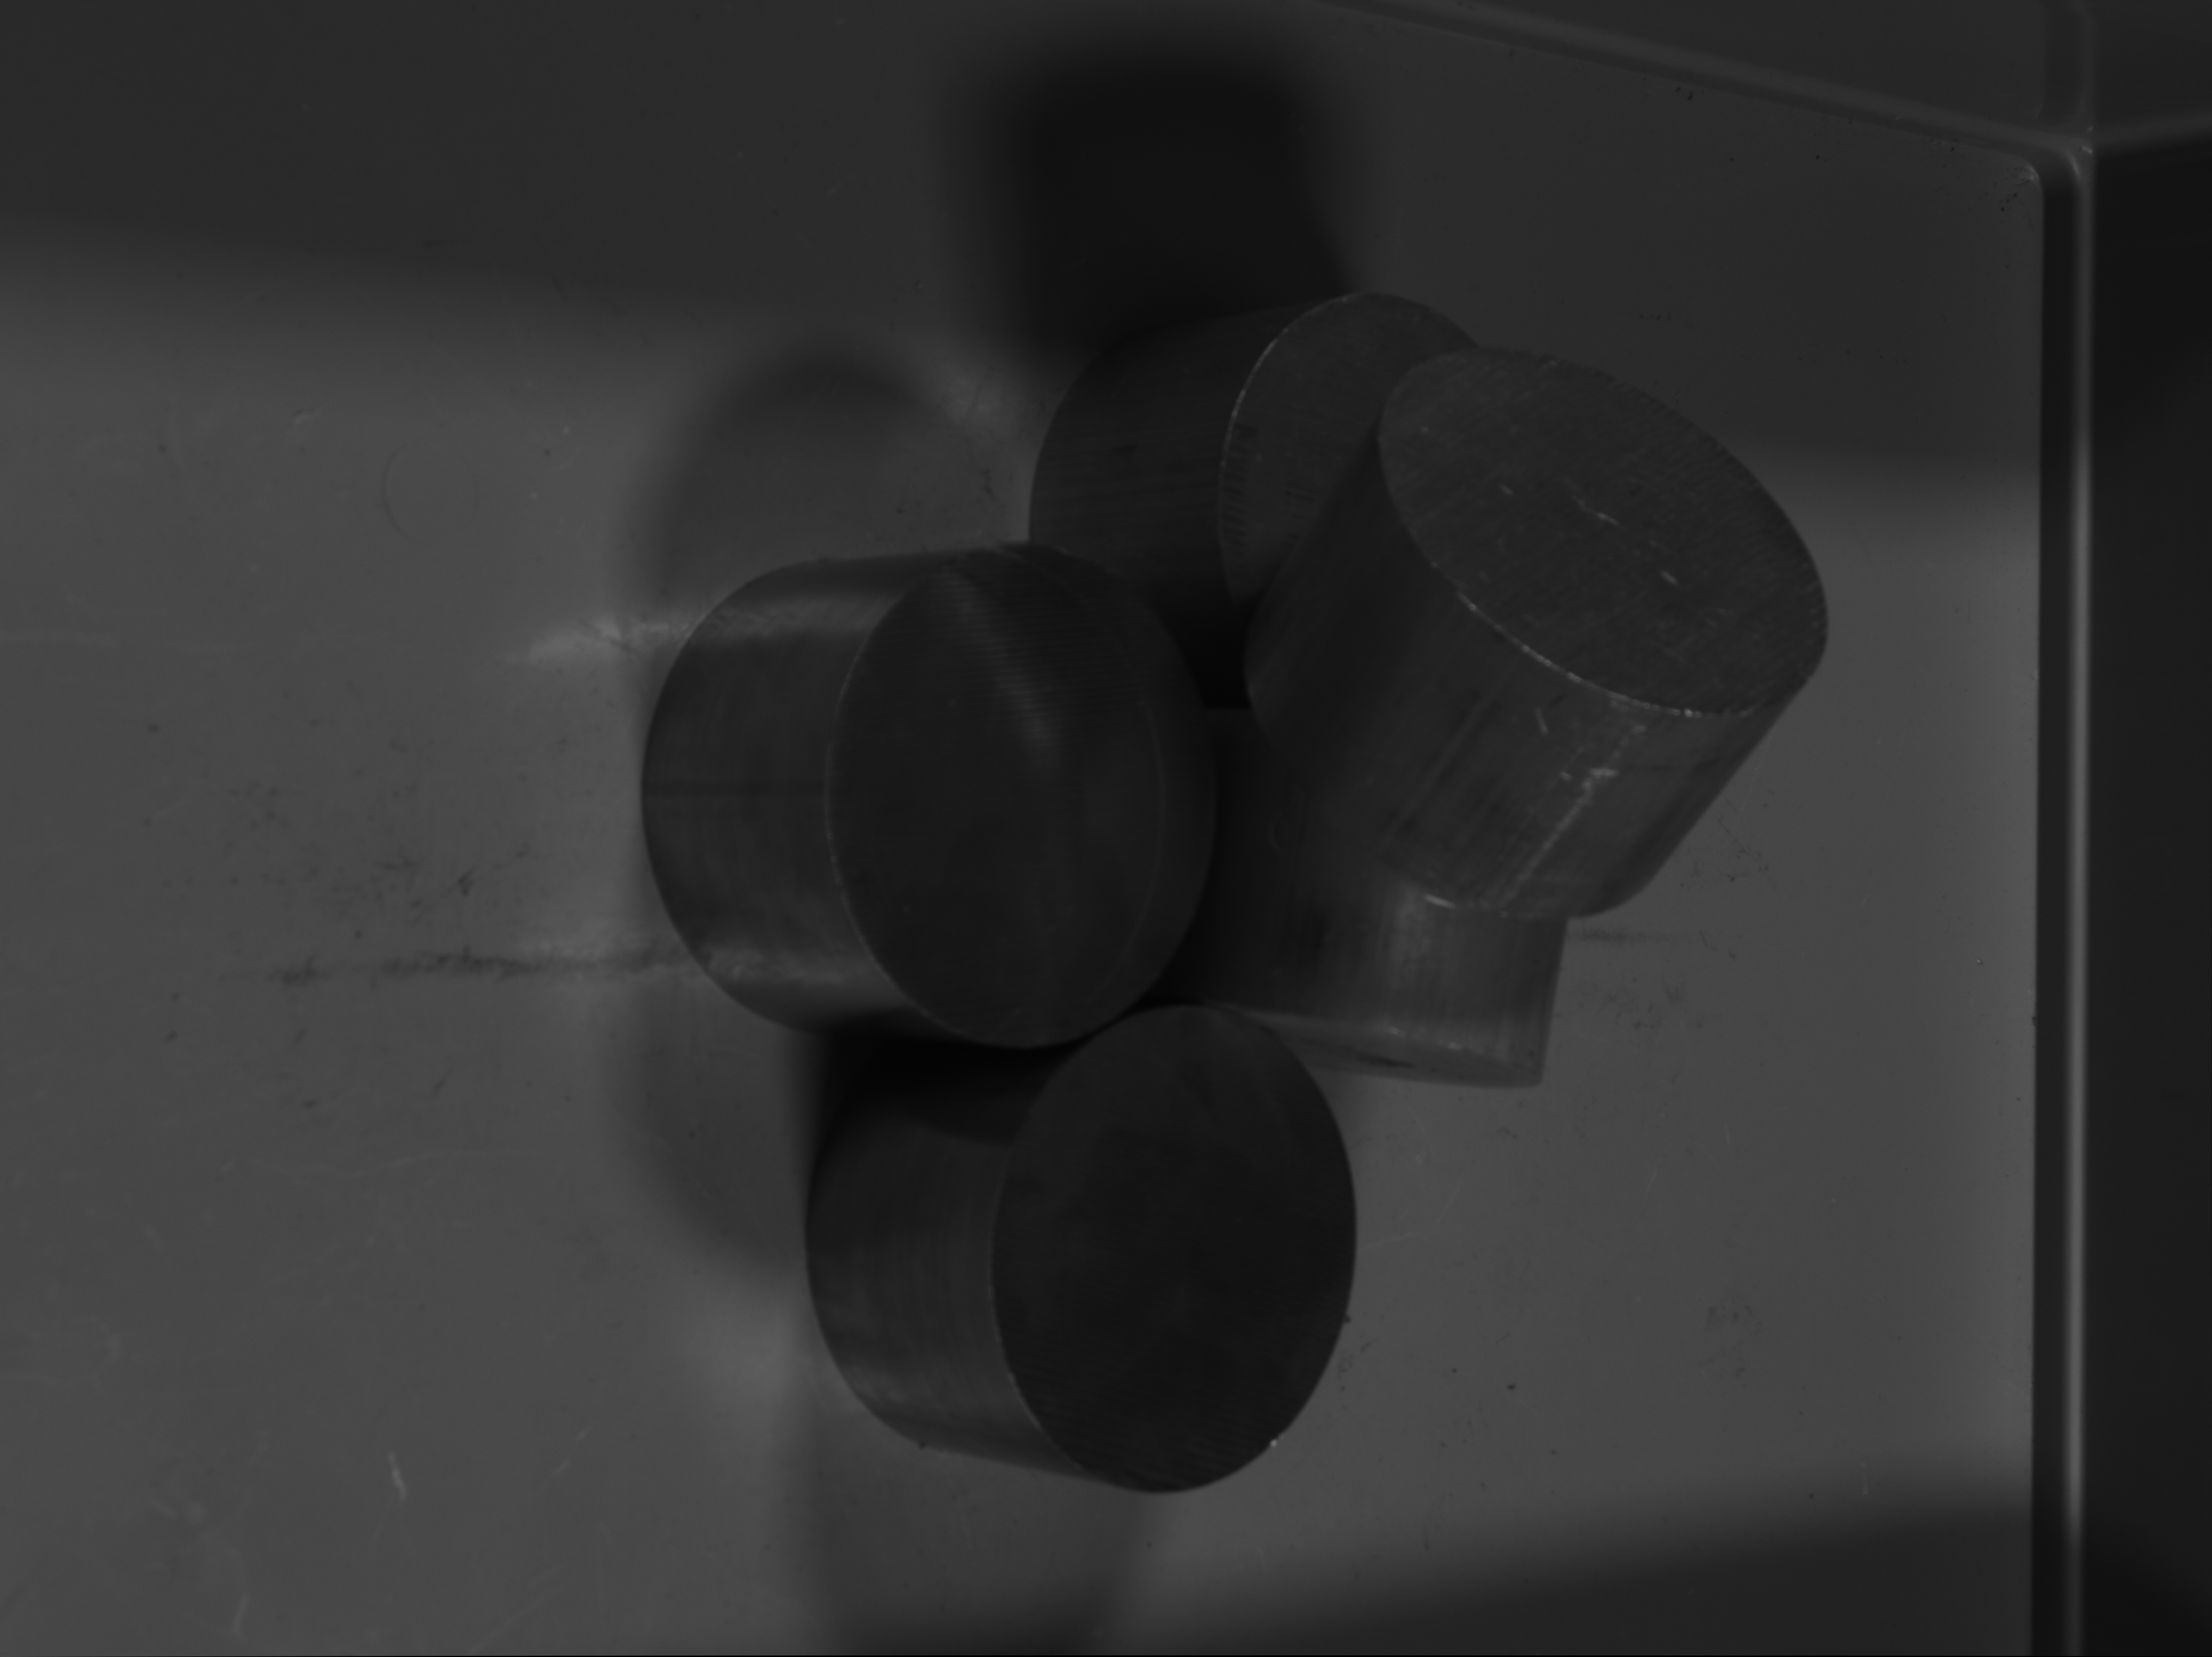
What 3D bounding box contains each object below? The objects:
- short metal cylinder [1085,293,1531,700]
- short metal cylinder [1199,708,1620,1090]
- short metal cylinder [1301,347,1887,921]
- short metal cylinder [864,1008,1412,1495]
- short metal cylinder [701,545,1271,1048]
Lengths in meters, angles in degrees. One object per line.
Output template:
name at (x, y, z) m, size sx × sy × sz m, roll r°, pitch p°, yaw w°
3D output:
short metal cylinder at (0.043, -0.053, 0.655) m, size 0.080 × 0.050 × 0.080 m, roll 0°, pitch 90°, yaw -40°
short metal cylinder at (0.050, 0.013, 0.643) m, size 0.080 × 0.080 × 0.050 m, roll 17°, pitch 79°, yaw -38°
short metal cylinder at (0.079, -0.032, 0.594) m, size 0.080 × 0.050 × 0.080 m, roll 17°, pitch 44°, yaw -16°
short metal cylinder at (0.006, 0.070, 0.624) m, size 0.080 × 0.050 × 0.080 m, roll 0°, pitch 90°, yaw -40°
short metal cylinder at (-0.019, -0.005, 0.603) m, size 0.080 × 0.050 × 0.080 m, roll 0°, pitch 90°, yaw -40°
